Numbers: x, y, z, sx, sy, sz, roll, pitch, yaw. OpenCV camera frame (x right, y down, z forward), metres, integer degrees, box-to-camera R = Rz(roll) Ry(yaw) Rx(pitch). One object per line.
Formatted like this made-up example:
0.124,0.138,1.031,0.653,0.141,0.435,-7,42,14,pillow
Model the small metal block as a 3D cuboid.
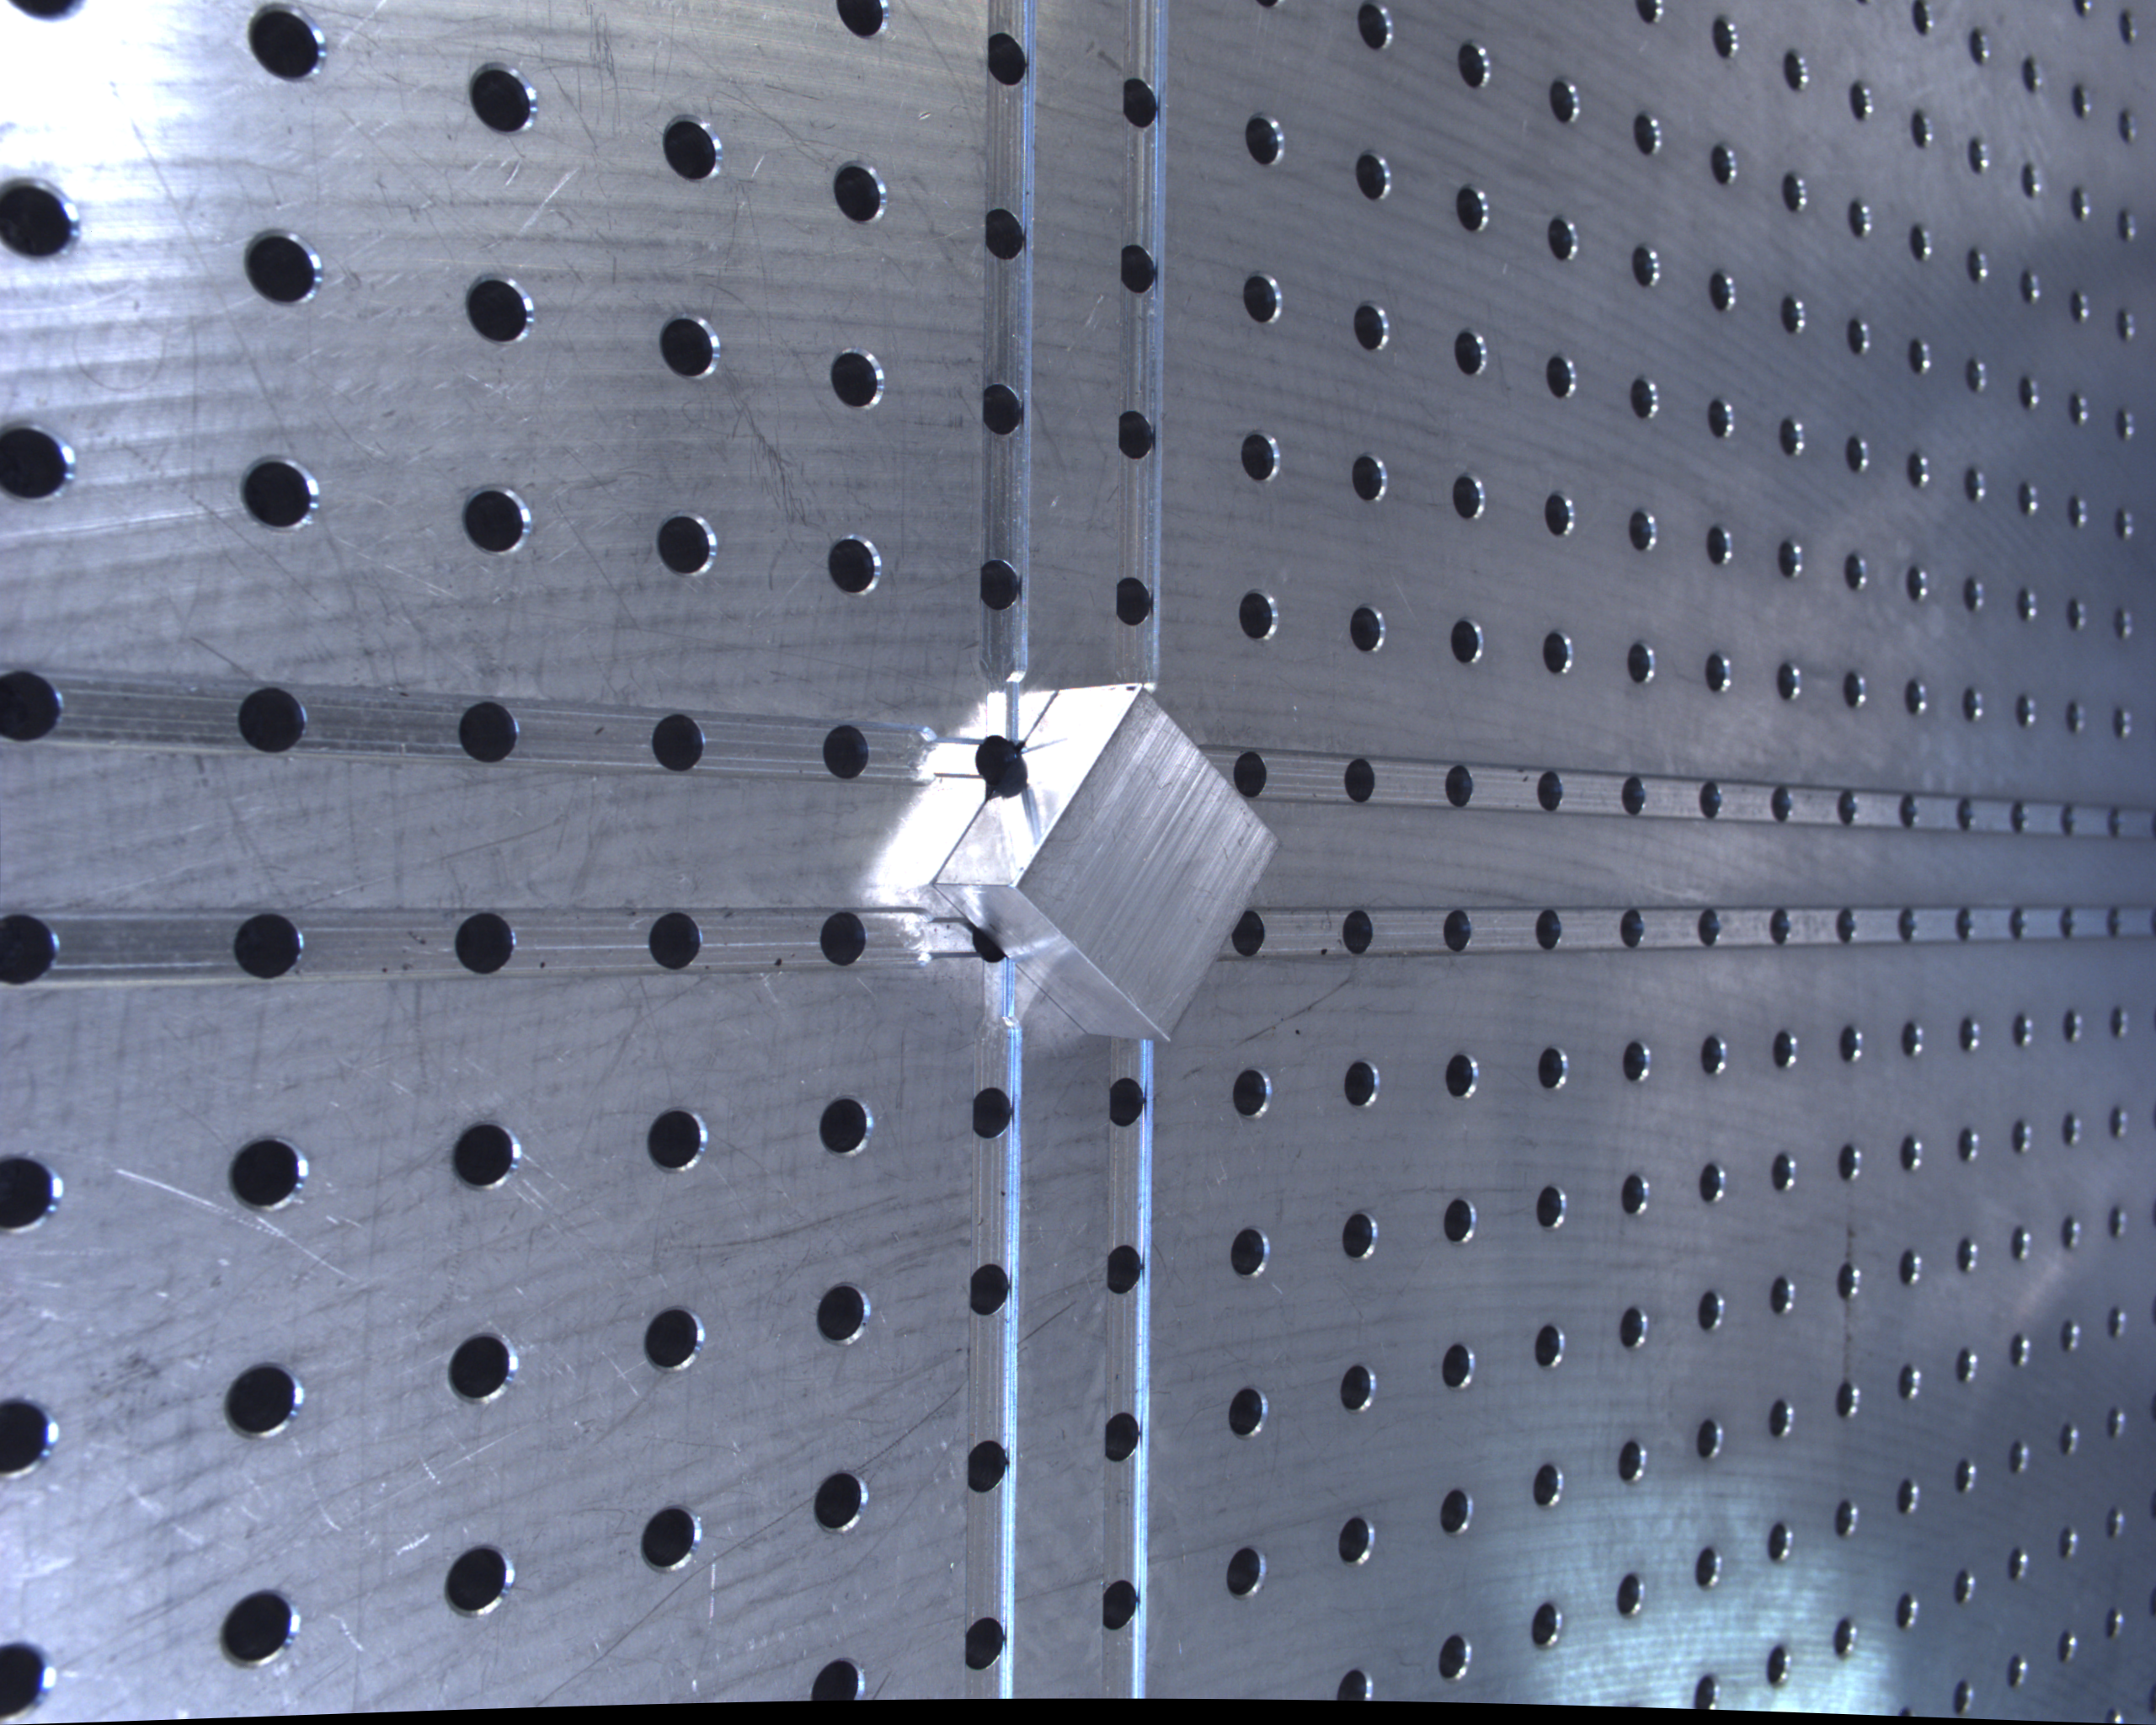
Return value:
0.007,0.000,0.414,0.050,0.025,0.050,46,63,-31,small metal block
